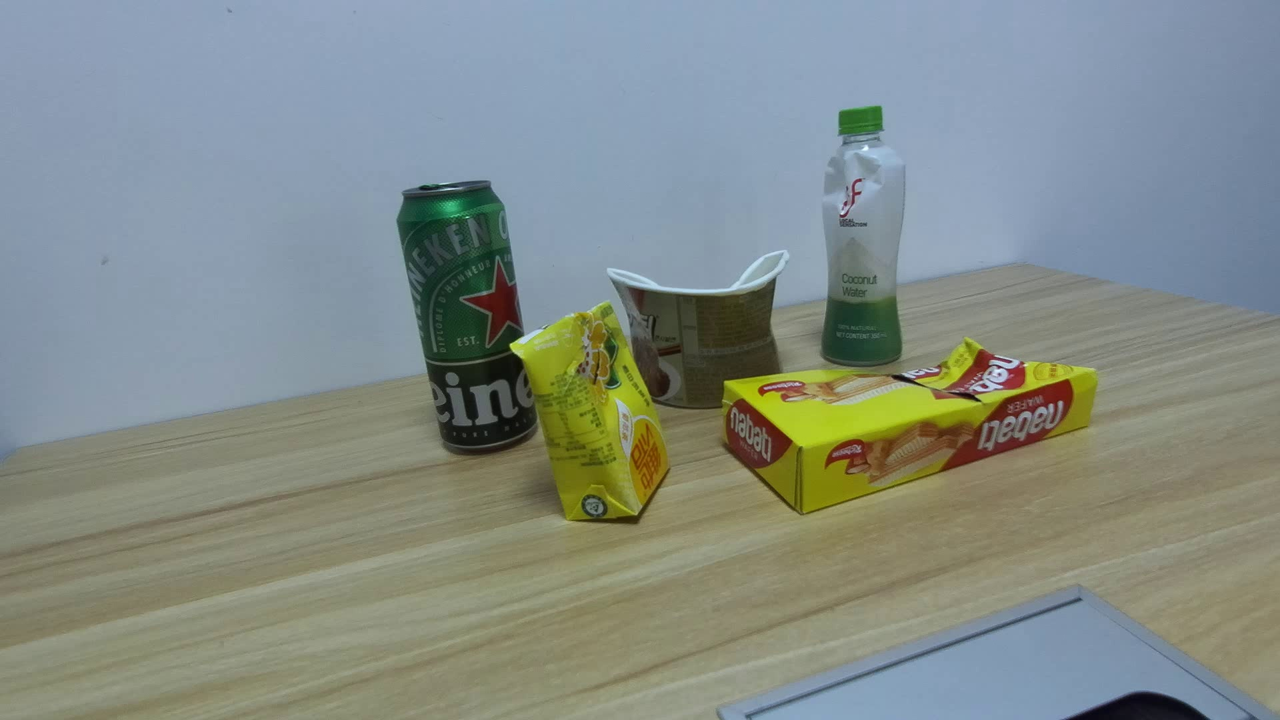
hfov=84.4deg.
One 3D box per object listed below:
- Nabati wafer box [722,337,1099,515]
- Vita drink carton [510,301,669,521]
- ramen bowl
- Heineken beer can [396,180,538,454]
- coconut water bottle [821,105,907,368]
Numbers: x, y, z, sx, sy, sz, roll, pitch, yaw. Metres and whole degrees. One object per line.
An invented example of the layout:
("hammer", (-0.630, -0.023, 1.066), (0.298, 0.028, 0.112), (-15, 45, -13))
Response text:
("Nabati wafer box", (0.159, 0.027, 0.427), (0.205, 0.042, 0.106), (-11, 21, -18))
("Vita drink carton", (-0.025, 0.026, 0.383), (0.042, 0.108, 0.087), (-13, 11, 23))
("ramen bowl", (0.045, -0.024, 0.519), (0.137, 0.098, 0.137), (-7, 19, 3))
("Heineken beer can", (-0.110, -0.027, 0.462), (0.067, 0.169, 0.067), (-6, 17, 2))
("coconut water bottle", (0.168, -0.092, 0.537), (0.069, 0.186, 0.069), (-6, 17, 2))
